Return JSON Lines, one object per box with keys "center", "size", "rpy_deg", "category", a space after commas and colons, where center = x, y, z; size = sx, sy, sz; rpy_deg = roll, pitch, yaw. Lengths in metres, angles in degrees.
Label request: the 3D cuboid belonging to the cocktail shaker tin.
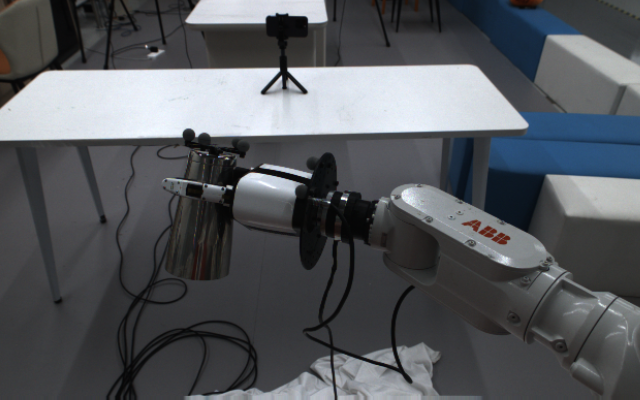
{"center": [-0.160, 0.016, 0.688], "size": [0.093, 0.170, 0.093], "rpy_deg": [10, 10, -2], "category": "cocktail shaker tin"}
